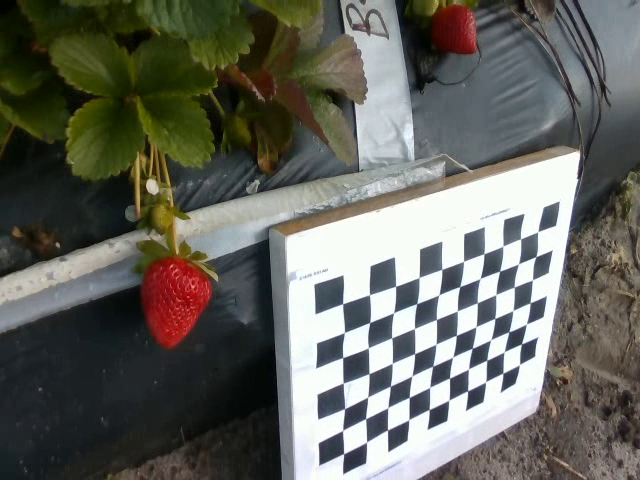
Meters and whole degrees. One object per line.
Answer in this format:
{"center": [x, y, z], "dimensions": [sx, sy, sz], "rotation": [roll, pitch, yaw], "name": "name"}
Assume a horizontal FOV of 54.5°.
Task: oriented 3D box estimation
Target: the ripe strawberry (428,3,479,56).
{"center": [0.096, -0.142, 0.421], "dimensions": [0.038, 0.047, 0.030], "rotation": [-2, -33, -35], "name": "ripe strawberry"}

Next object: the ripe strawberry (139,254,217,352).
{"center": [-0.075, 0.032, 0.315], "dimensions": [0.030, 0.052, 0.048], "rotation": [-3, -24, 43], "name": "ripe strawberry"}
